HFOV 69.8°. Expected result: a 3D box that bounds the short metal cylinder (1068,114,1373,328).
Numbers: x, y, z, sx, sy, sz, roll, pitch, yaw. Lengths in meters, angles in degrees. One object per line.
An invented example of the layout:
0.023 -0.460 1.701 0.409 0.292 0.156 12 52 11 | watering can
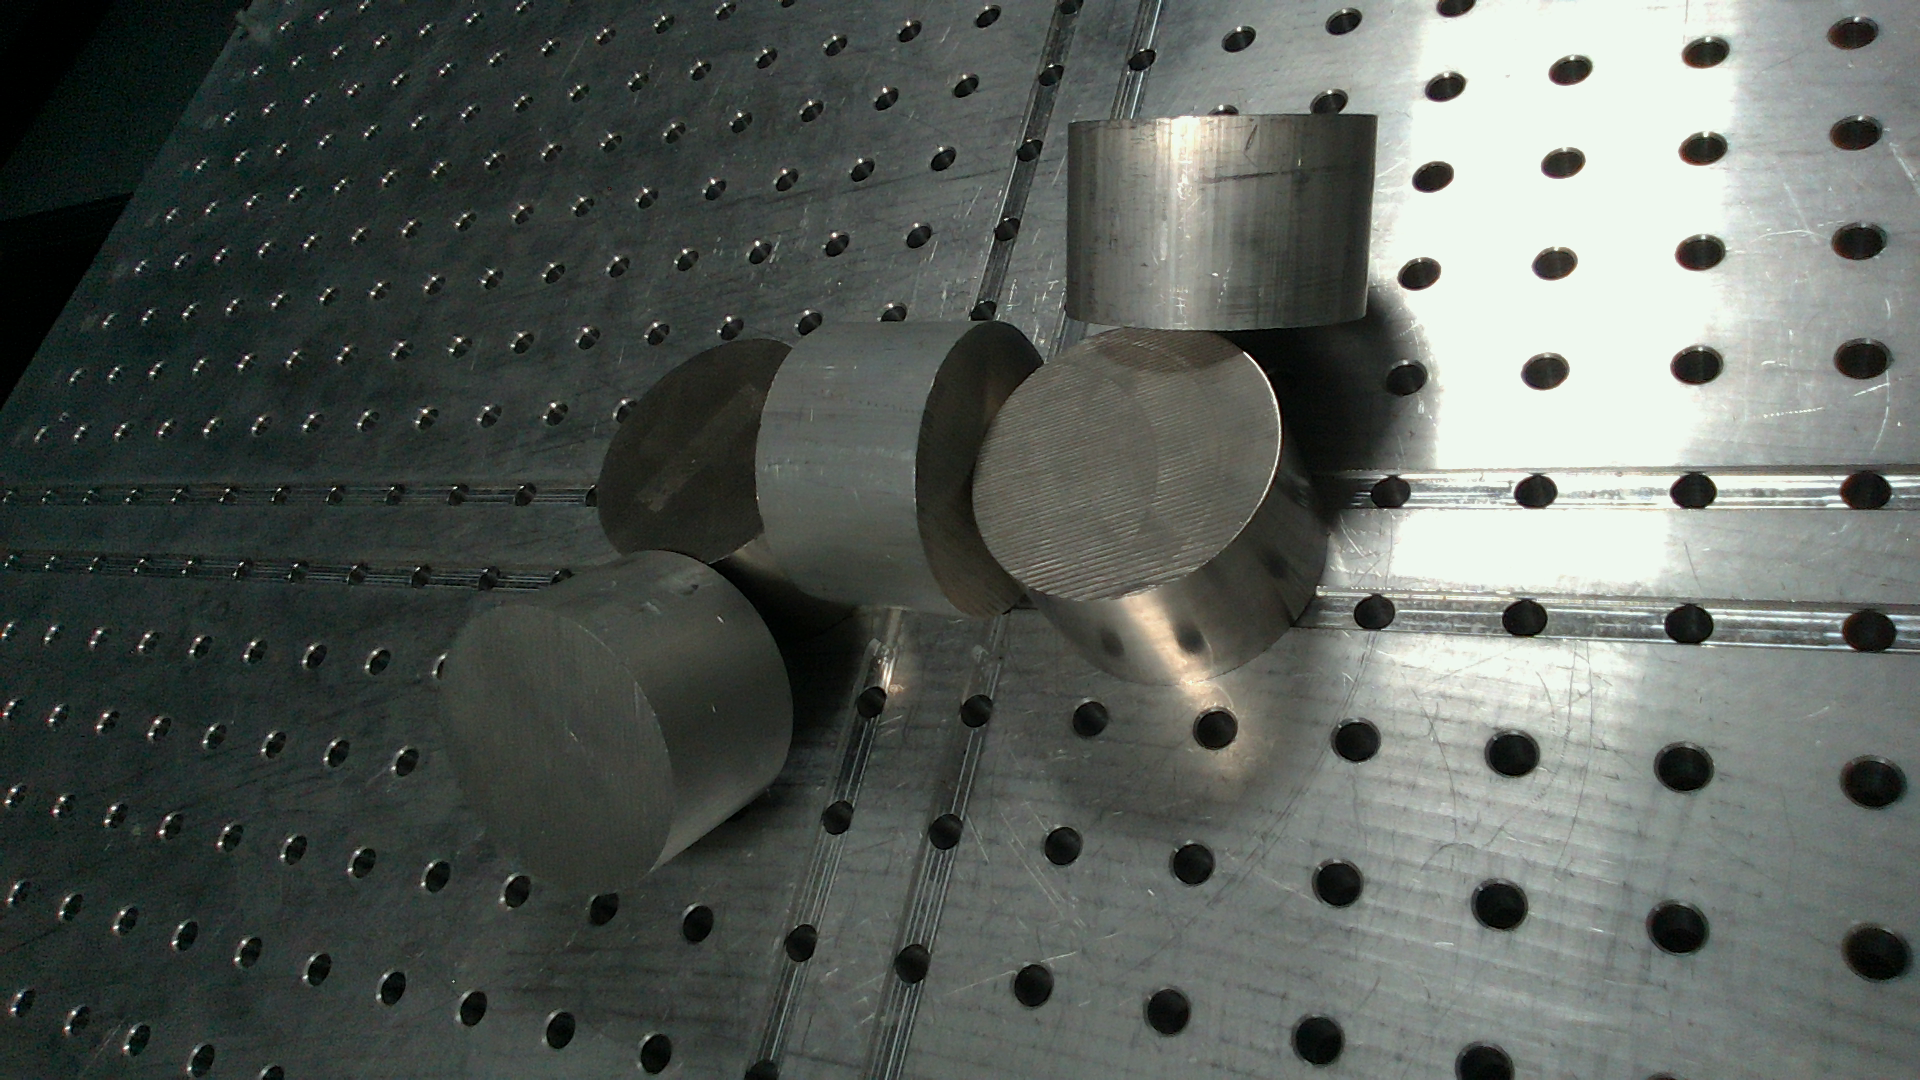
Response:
0.068 -0.086 0.369 0.080 0.080 0.050 9 108 32 | short metal cylinder

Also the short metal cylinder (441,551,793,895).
-0.093 0.048 0.375 0.080 0.050 0.080 9 110 27 | short metal cylinder

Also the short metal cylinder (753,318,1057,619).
-0.012 -0.020 0.380 0.050 0.080 0.080 5 64 31 | short metal cylinder

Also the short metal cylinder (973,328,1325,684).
0.050 -0.009 0.358 0.080 0.050 0.080 -14 56 21 | short metal cylinder

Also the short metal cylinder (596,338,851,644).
-0.063 -0.014 0.423 0.080 0.050 0.080 -14 56 21 | short metal cylinder
